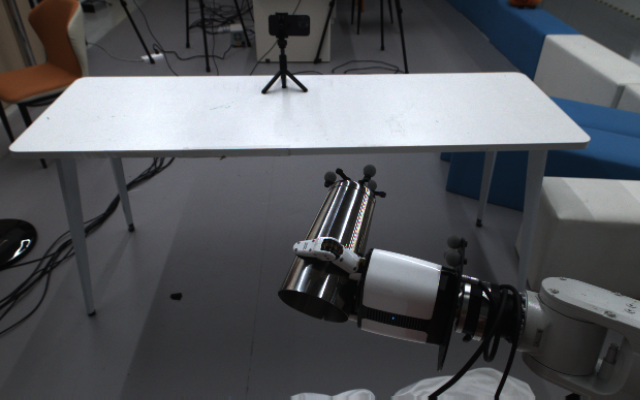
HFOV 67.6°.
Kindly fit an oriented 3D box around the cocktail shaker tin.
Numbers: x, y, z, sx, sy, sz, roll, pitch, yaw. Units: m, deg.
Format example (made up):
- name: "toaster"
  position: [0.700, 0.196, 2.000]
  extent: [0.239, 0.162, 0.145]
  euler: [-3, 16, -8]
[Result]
- name: "cocktail shaker tin"
  position: [0.017, 0.060, 0.627]
  extent: [0.093, 0.093, 0.170]
  euler: [13, 59, 16]
